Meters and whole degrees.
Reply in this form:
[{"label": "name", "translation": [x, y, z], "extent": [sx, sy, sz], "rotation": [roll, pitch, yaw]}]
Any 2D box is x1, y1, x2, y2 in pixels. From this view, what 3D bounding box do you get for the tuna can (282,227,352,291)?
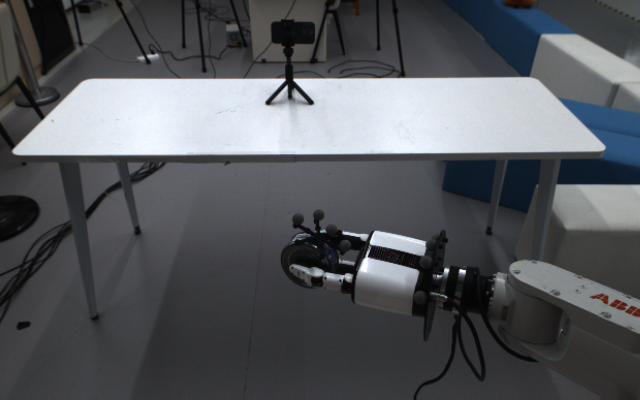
[{"label": "tuna can", "translation": [-0.015, 0.092, 0.738], "extent": [0.085, 0.085, 0.034], "rotation": [15, 31, 18]}]
